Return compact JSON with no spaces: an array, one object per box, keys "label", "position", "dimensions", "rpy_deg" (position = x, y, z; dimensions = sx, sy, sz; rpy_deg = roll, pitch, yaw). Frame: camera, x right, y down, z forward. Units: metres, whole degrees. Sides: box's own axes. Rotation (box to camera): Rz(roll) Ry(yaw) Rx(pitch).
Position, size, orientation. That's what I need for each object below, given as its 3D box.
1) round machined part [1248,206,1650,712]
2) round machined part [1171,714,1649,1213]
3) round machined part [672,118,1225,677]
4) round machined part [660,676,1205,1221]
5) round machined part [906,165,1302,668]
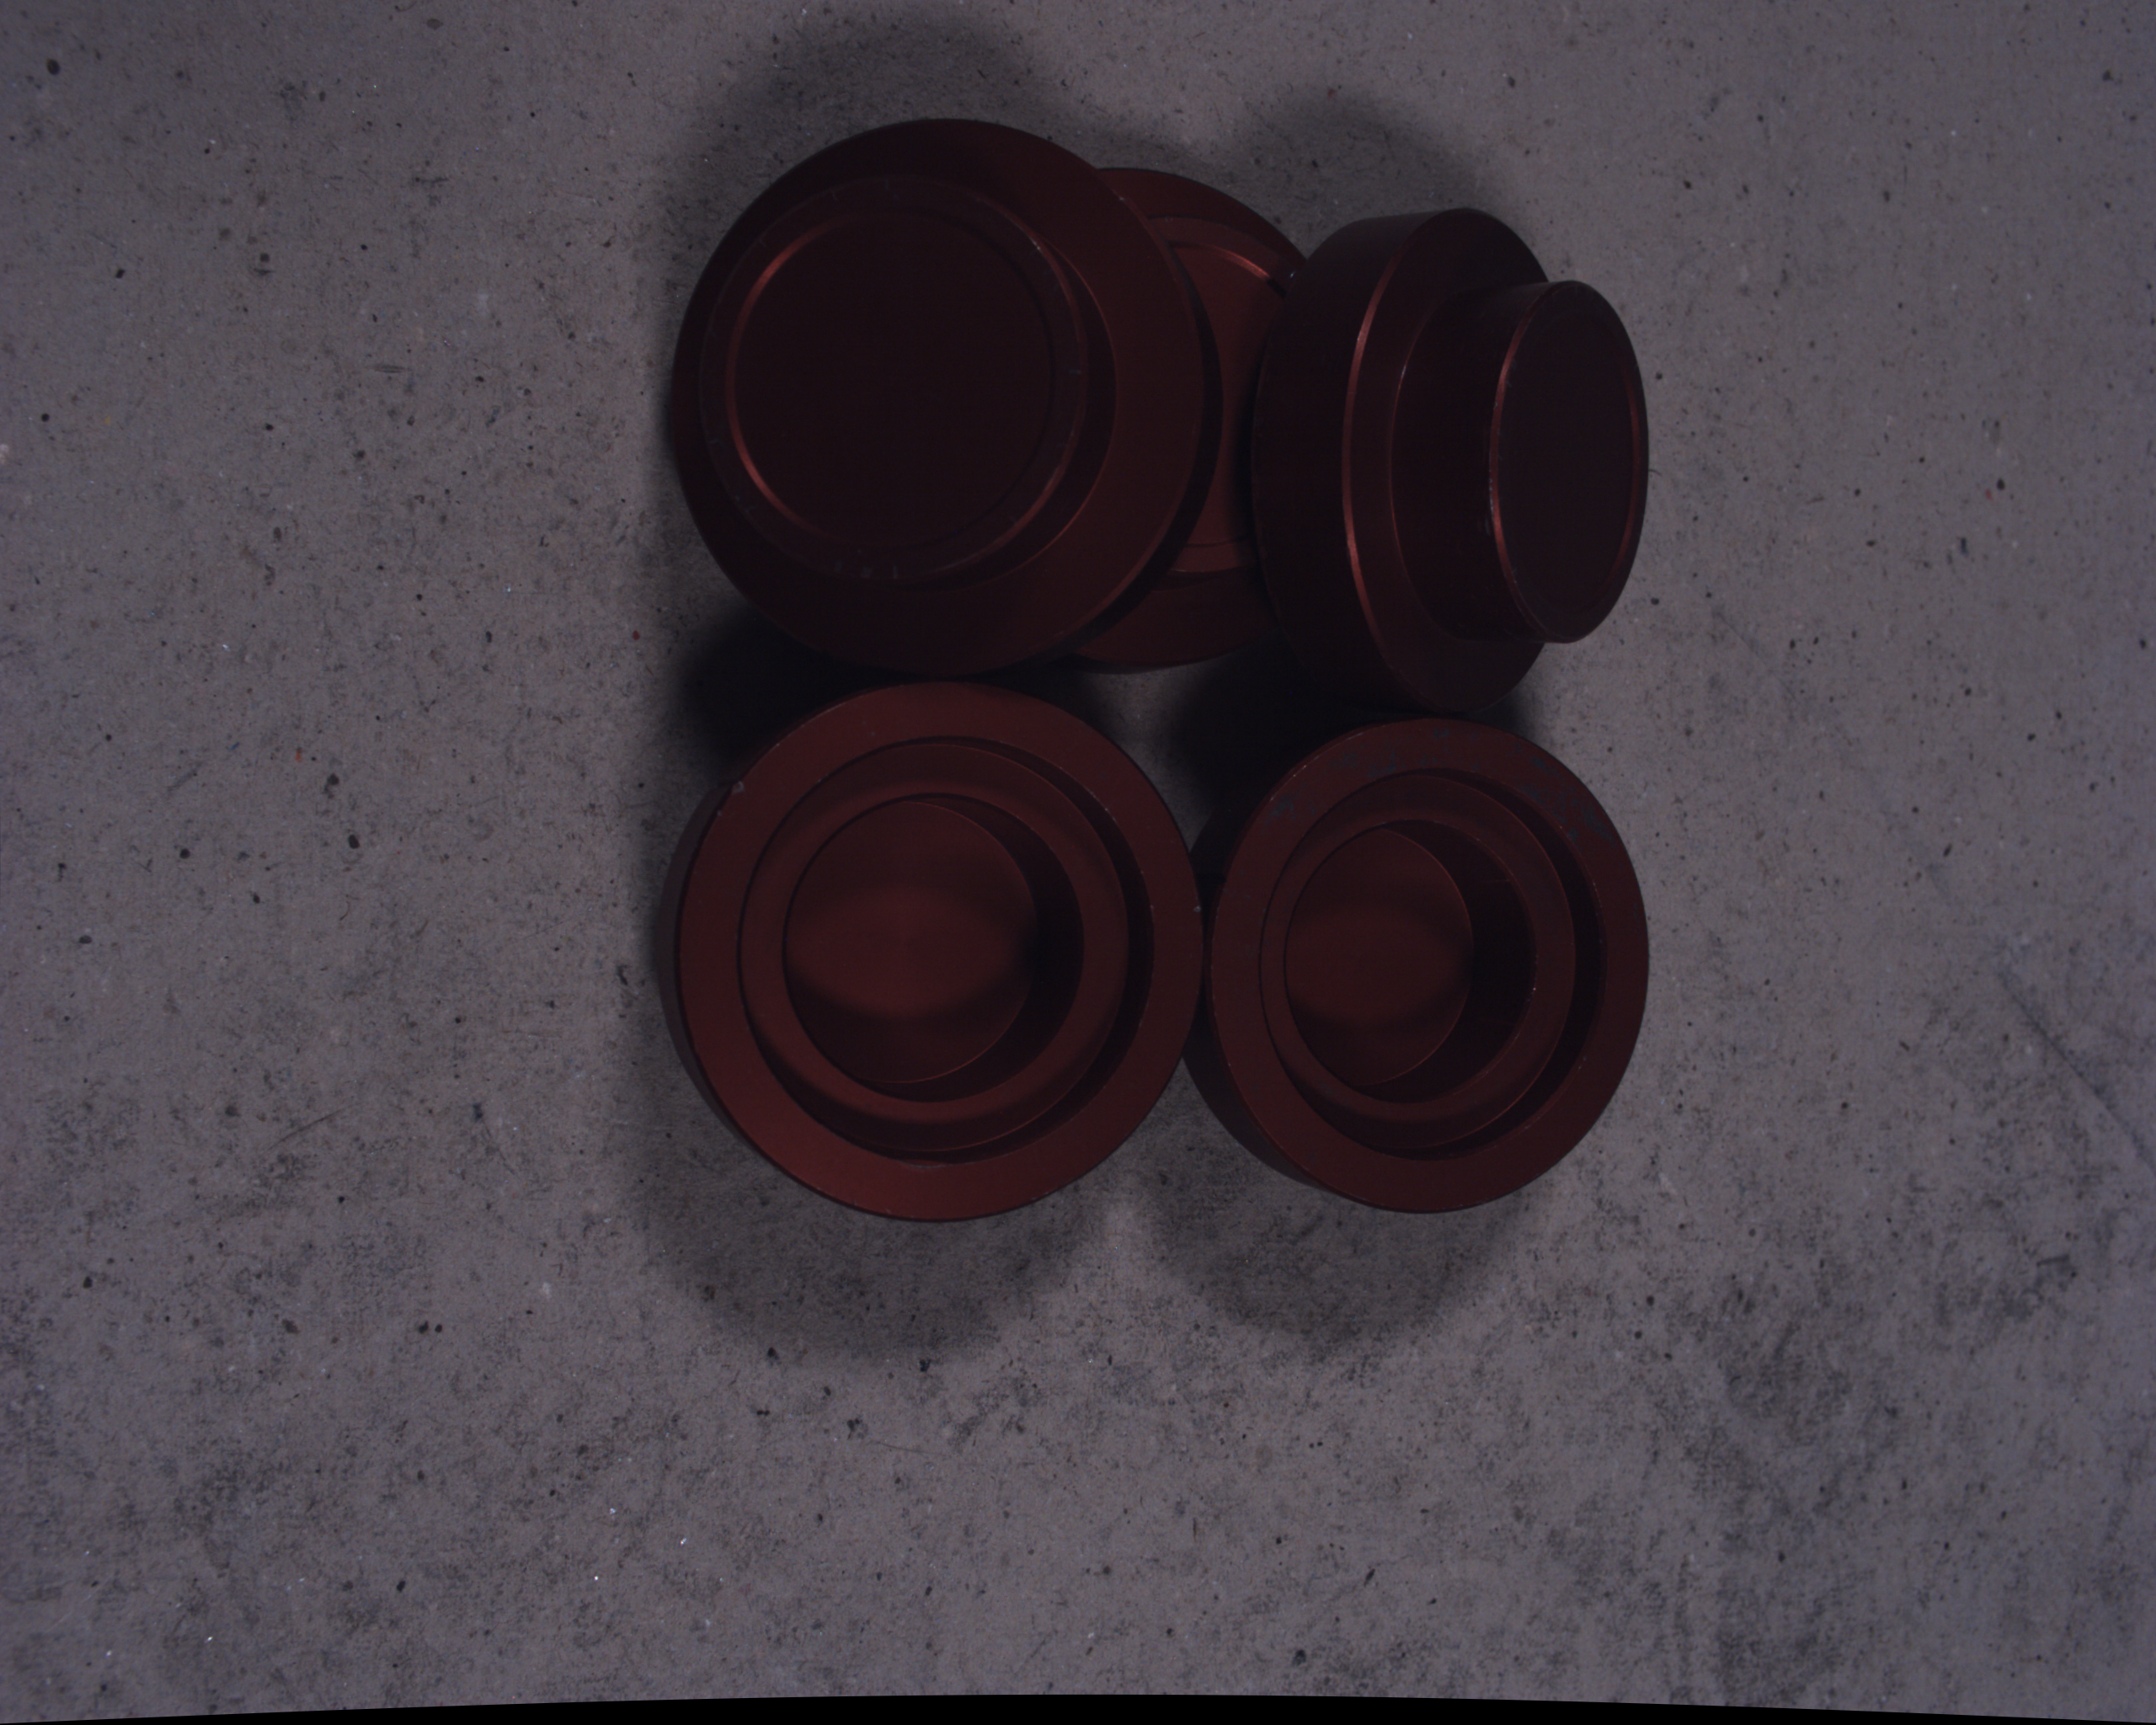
[{"label":"round machined part","position":[0.078,-0.078,0.408],"dimensions":[0.099,0.042,0.097],"rpy_deg":[-11,104,-50]},{"label":"round machined part","position":[0.063,0.019,0.426],"dimensions":[0.099,0.042,0.097],"rpy_deg":[0,90,-21]},{"label":"round machined part","position":[-0.026,-0.082,0.367],"dimensions":[0.098,0.042,0.097],"rpy_deg":[1,93,13]},{"label":"round machined part","position":[-0.030,0.015,0.391],"dimensions":[0.099,0.042,0.097],"rpy_deg":[0,90,-21]},{"label":"round machined part","position":[0.014,-0.087,0.407],"dimensions":[0.099,0.042,0.097],"rpy_deg":[0,90,-21]}]
